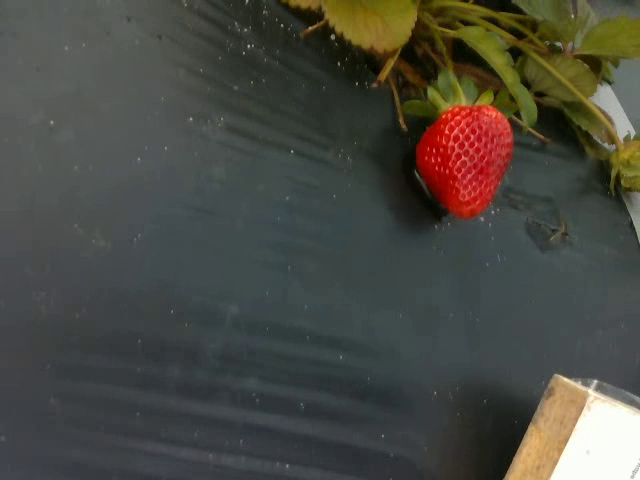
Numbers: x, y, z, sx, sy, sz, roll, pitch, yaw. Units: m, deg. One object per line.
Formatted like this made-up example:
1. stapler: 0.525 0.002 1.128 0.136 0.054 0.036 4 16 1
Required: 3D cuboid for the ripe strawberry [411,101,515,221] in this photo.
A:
1. ripe strawberry: 0.052 -0.027 0.201 0.036 0.046 0.040 10 -41 -4
